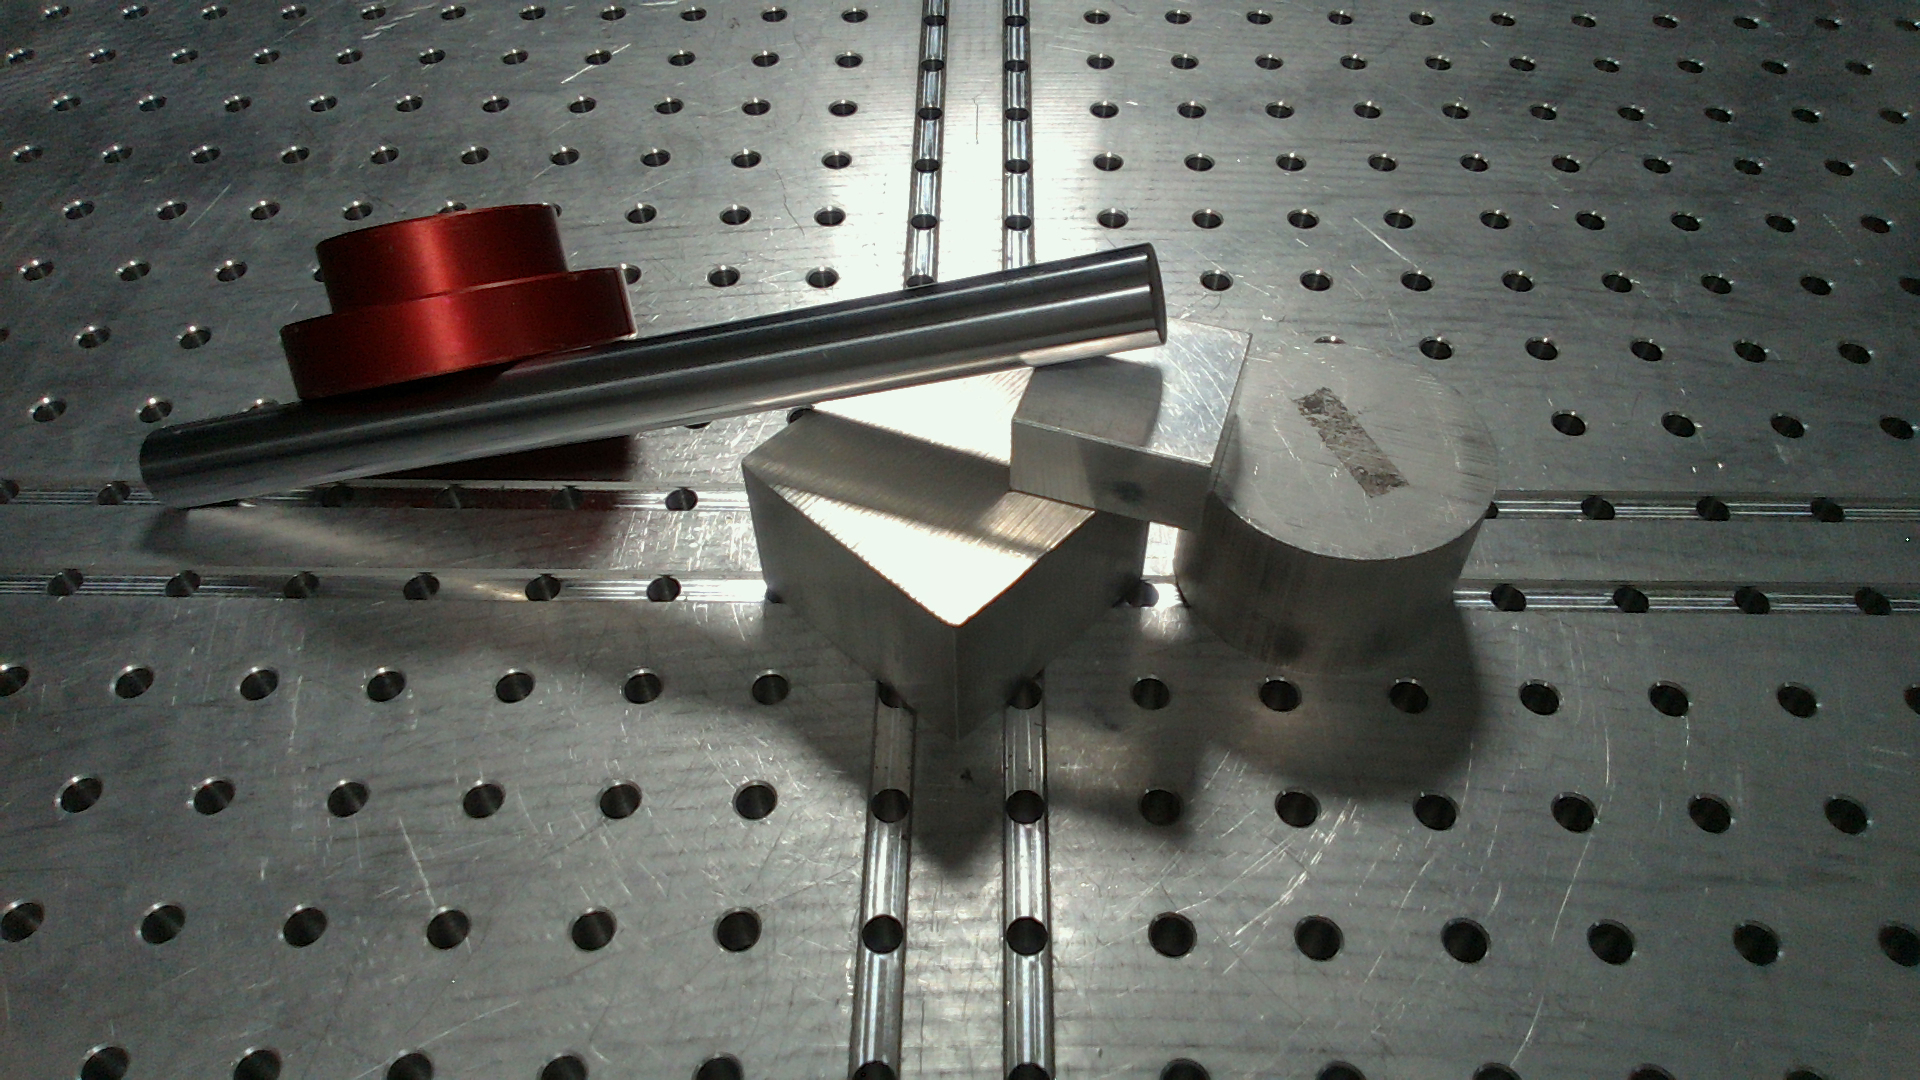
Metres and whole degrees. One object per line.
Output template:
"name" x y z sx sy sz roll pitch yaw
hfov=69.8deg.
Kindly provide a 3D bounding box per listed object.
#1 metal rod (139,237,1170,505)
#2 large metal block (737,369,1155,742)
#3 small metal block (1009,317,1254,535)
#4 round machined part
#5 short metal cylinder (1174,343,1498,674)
"metal rod" -0.094 -0.042 0.373 0.299 0.025 0.025 -7 48 16
"large metal block" -0.002 -0.006 0.380 0.080 0.050 0.080 36 59 27
"small metal block" 0.044 -0.033 0.355 0.050 0.025 0.050 14 51 12
"round machined part" -0.150 -0.073 0.410 0.098 0.042 0.098 -11 11 2
"short metal cylinder" 0.103 -0.010 0.386 0.080 0.050 0.080 0 50 0
